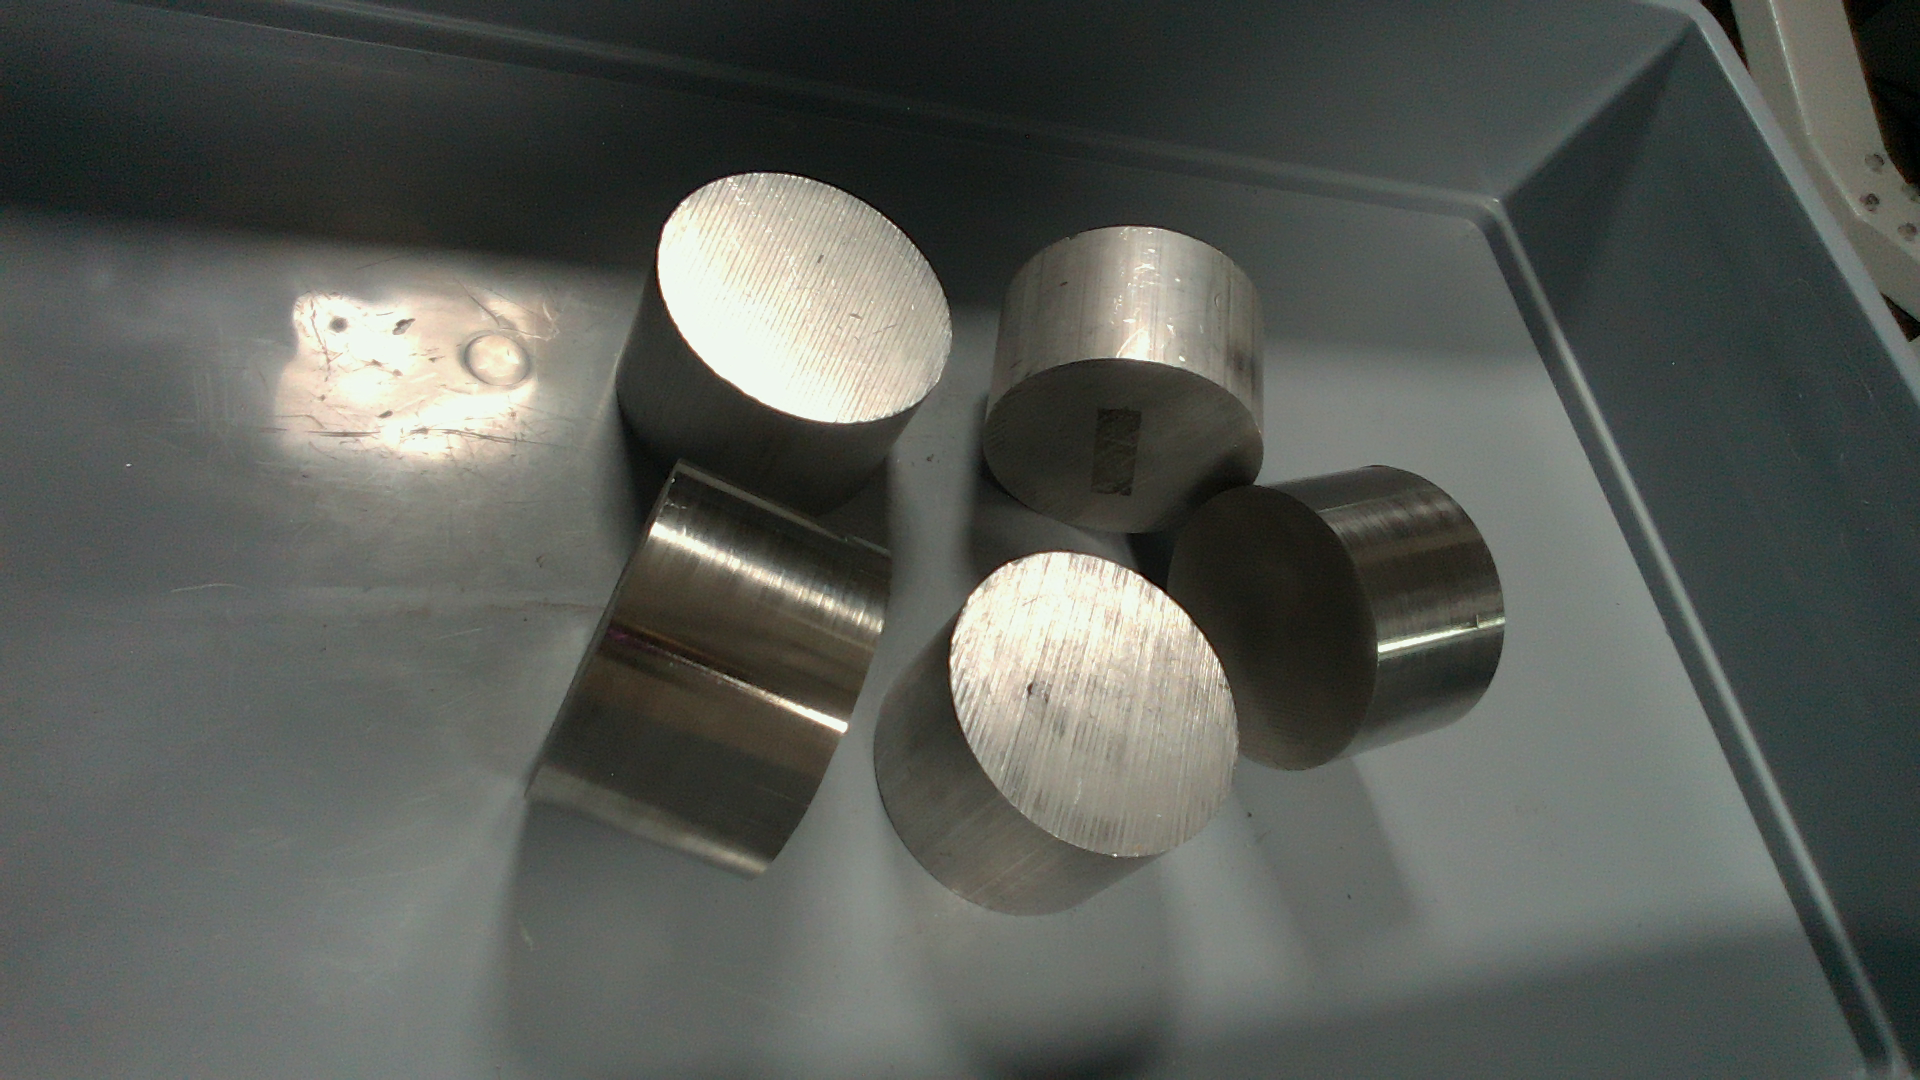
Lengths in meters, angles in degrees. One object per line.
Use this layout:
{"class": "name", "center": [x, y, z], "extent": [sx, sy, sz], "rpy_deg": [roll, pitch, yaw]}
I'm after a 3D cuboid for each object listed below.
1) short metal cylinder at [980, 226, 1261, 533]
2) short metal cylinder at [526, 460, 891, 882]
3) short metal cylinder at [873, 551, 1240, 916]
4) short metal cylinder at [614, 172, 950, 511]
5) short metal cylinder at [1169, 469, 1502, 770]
{"class": "short metal cylinder", "center": [0.049, -0.046, 0.408], "extent": [0.080, 0.080, 0.050], "rpy_deg": [20, 54, -16]}
{"class": "short metal cylinder", "center": [-0.055, 0.028, 0.305], "extent": [0.050, 0.080, 0.080], "rpy_deg": [24, 53, -13]}
{"class": "short metal cylinder", "center": [0.024, 0.050, 0.354], "extent": [0.080, 0.050, 0.080], "rpy_deg": [14, 56, -21]}
{"class": "short metal cylinder", "center": [-0.049, -0.053, 0.378], "extent": [0.080, 0.050, 0.080], "rpy_deg": [14, 56, -21]}
{"class": "short metal cylinder", "center": [0.106, 0.021, 0.396], "extent": [0.050, 0.080, 0.080], "rpy_deg": [-9, 66, -32]}
